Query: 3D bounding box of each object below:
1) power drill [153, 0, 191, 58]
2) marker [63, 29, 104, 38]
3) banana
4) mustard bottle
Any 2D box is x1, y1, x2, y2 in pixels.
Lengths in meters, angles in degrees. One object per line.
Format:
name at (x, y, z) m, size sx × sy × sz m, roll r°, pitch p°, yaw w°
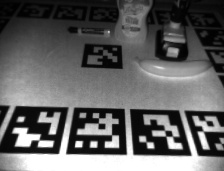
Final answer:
power drill at (0.150, -0.165, 0.537) m, size 0.057 × 0.187 × 0.184 m, roll 13°, pitch 46°, yaw 6°
marker at (-0.086, -0.157, 0.648) m, size 0.121 × 0.020 × 0.019 m, roll 3°, pitch 49°, yaw -2°
banana at (0.136, -0.036, 0.549) m, size 0.197 × 0.039 × 0.074 m, roll 6°, pitch 50°, yaw 3°
mustard bottle at (0.044, -0.204, 0.586) m, size 0.096 × 0.192 × 0.058 m, roll 10°, pitch 48°, yaw 4°
